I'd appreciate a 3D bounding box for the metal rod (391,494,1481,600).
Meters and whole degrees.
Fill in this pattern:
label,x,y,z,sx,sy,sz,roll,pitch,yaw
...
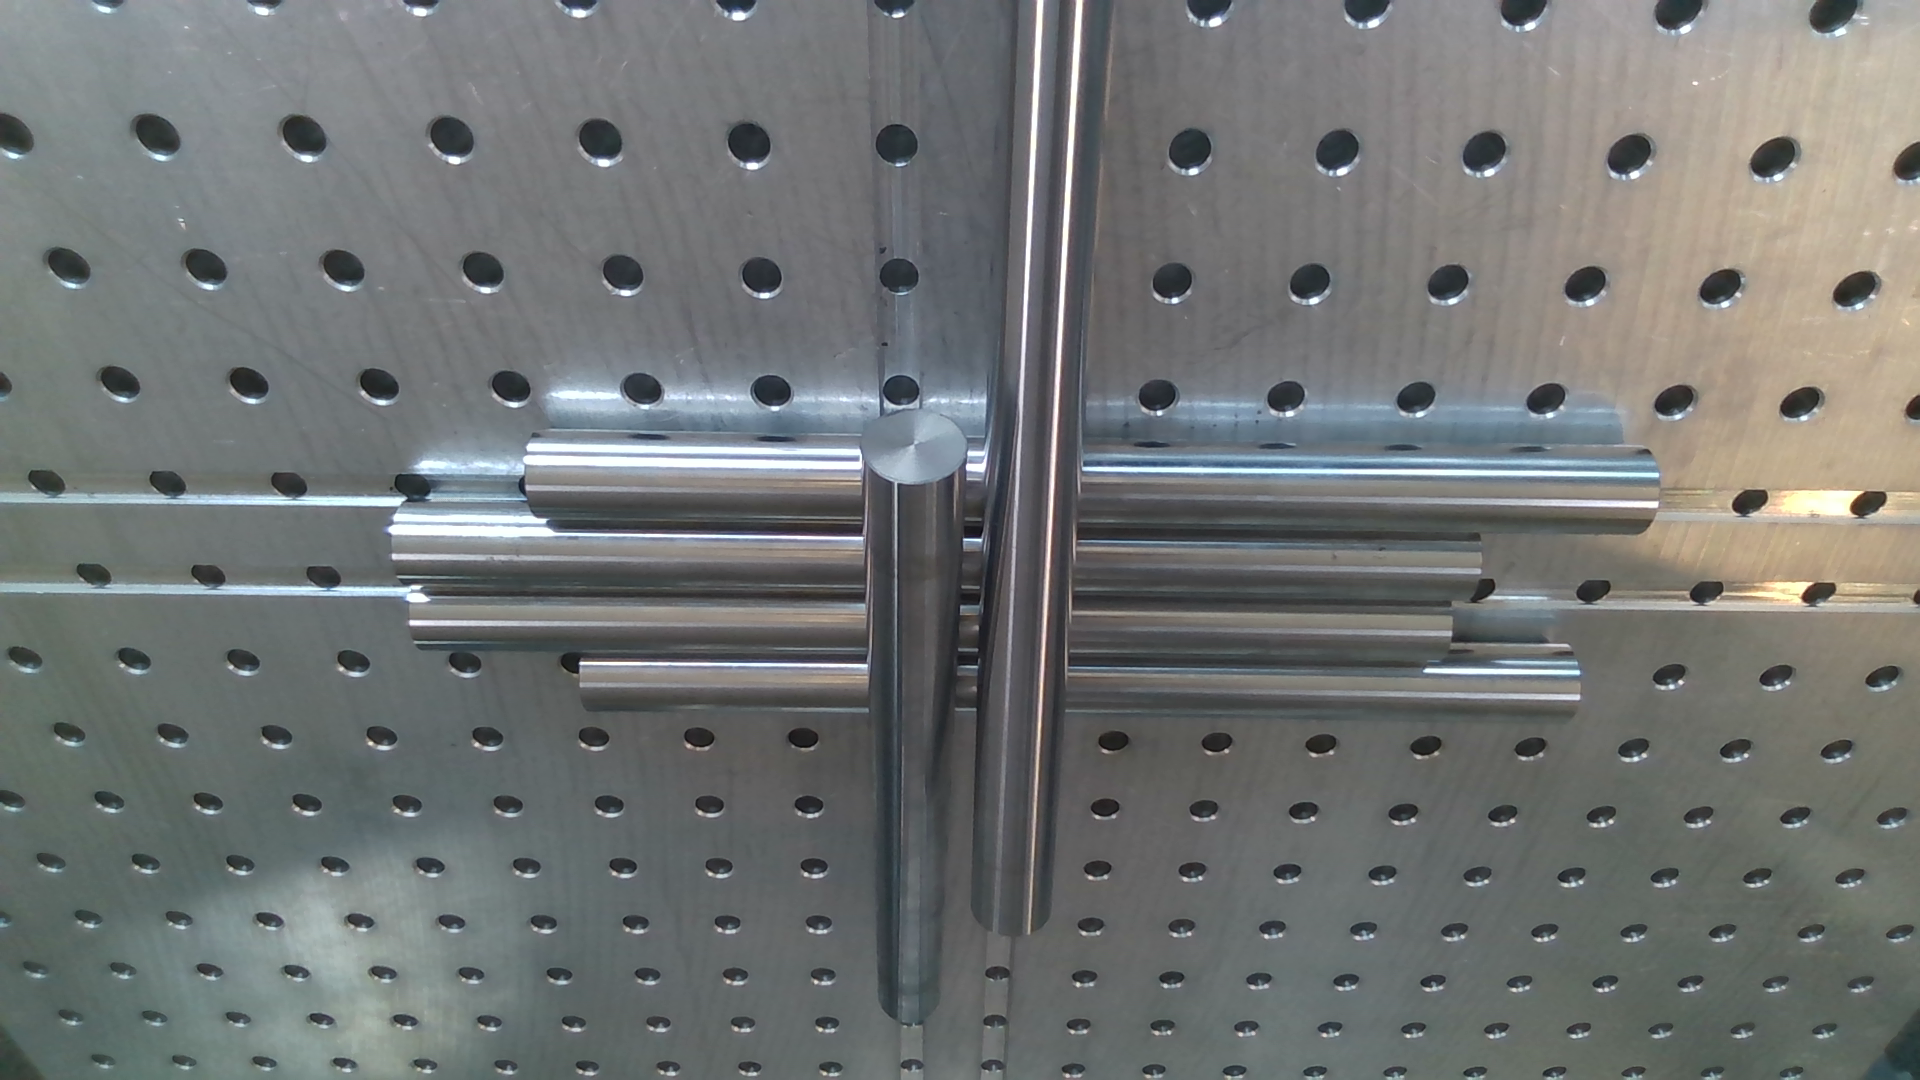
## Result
label,x,y,z,sx,sy,sz,roll,pitch,yaw
metal rod,-0.006,0.002,0.391,0.300,0.025,0.025,1,130,-1

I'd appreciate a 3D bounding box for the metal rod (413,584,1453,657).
label,x,y,z,sx,sy,sz,roll,pitch,yaw
metal rod,-0.007,0.021,0.410,0.300,0.025,0.025,1,130,-1

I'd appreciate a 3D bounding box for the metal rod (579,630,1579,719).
label,x,y,z,sx,sy,sz,roll,pitch,yaw
metal rod,0.036,0.041,0.425,0.300,0.025,0.025,1,130,-1

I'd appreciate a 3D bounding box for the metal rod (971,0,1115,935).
label,x,y,z,sx,sy,sz,roll,pitch,yaw
metal rod,0.018,-0.017,0.347,0.025,0.025,0.301,1,121,-1

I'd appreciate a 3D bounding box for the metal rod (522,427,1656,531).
label,x,y,z,sx,sy,sz,roll,pitch,yaw
metal rod,0.035,-0.017,0.376,0.300,0.025,0.025,1,130,-1

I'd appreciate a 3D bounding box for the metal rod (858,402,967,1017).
label,x,y,z,sx,sy,sz,roll,pitch,yaw
metal rod,-0.016,0.076,0.428,0.025,0.025,0.301,1,139,-1
